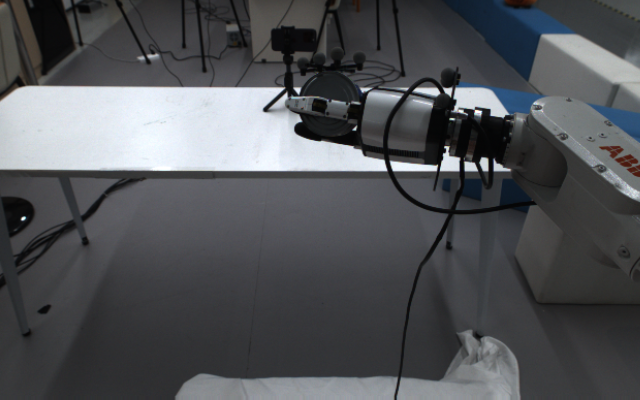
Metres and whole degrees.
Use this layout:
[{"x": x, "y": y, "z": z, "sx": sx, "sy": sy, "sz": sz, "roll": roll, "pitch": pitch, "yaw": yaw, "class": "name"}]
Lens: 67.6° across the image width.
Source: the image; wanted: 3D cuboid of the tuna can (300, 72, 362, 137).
[{"x": 0.016, "y": -0.130, "z": 0.656, "sx": 0.085, "sy": 0.085, "sz": 0.034, "roll": 15, "pitch": 10, "yaw": 18, "class": "tuna can"}]
